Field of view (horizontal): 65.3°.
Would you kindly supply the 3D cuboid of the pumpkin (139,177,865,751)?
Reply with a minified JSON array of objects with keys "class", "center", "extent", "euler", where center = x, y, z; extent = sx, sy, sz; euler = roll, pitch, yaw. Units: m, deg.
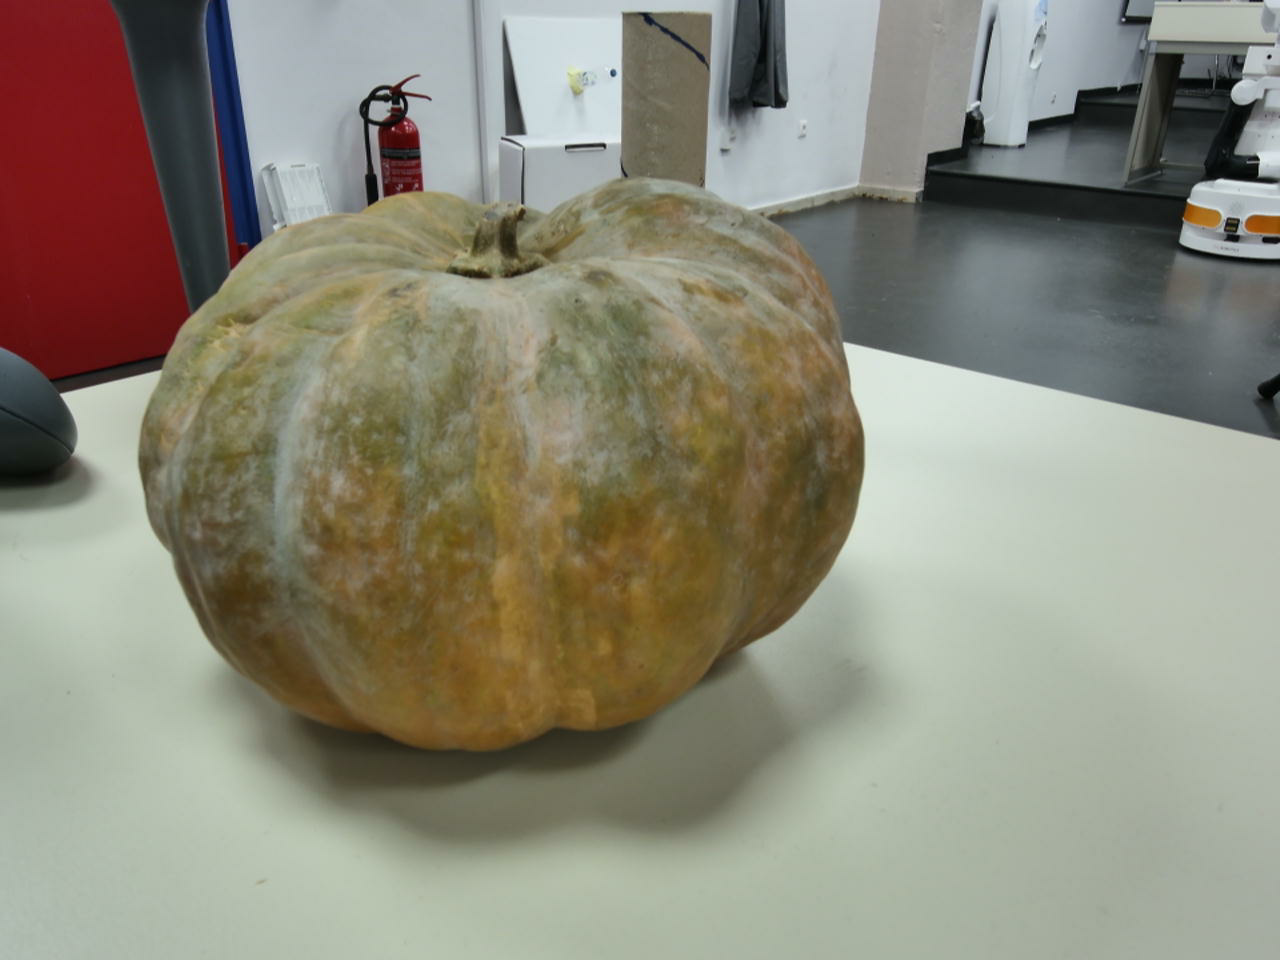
[{"class":"pumpkin","center":[-0.046,-0.015,0.360],"extent":[0.252,0.169,0.251],"euler":[0,23,0]}]
